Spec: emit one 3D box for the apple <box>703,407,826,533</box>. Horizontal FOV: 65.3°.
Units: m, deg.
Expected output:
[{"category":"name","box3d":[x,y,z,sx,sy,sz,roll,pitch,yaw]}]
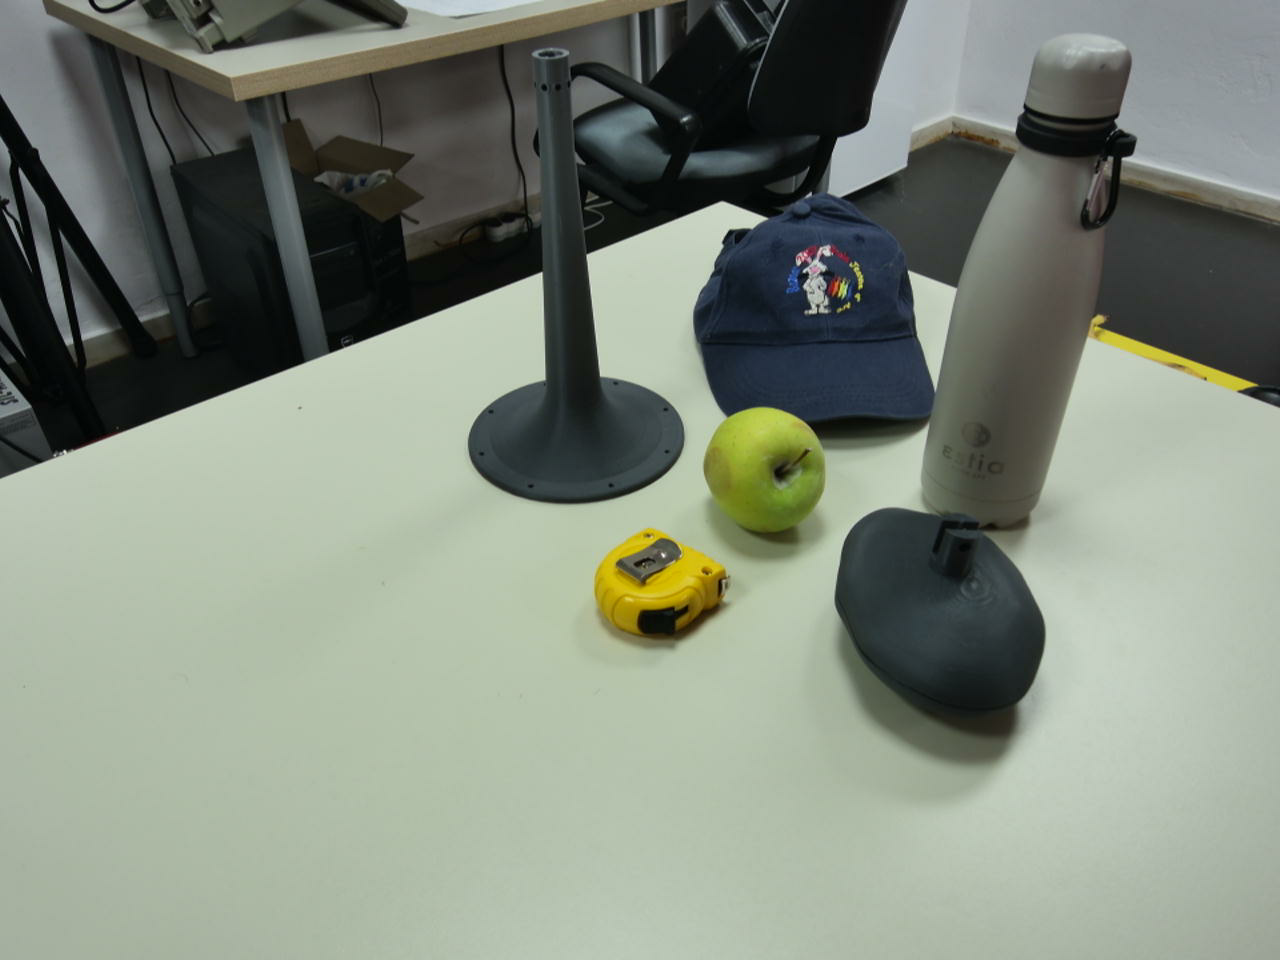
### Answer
[{"category":"apple","box3d":[0.074,-0.008,0.602,0.072,0.075,0.077,2,36,2]}]
